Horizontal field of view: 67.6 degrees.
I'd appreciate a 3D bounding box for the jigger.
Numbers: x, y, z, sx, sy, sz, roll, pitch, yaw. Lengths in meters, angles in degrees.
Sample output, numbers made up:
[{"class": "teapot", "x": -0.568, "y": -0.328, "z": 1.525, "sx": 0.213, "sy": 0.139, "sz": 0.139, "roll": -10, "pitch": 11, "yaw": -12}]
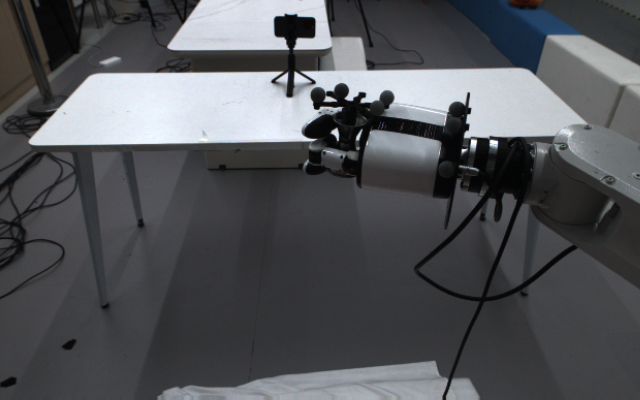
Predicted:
[{"class": "jigger", "x": 0.033, "y": -0.069, "z": 0.592, "sx": 0.043, "sy": 0.071, "sz": 0.043, "roll": 4, "pitch": 31, "yaw": -2}]
